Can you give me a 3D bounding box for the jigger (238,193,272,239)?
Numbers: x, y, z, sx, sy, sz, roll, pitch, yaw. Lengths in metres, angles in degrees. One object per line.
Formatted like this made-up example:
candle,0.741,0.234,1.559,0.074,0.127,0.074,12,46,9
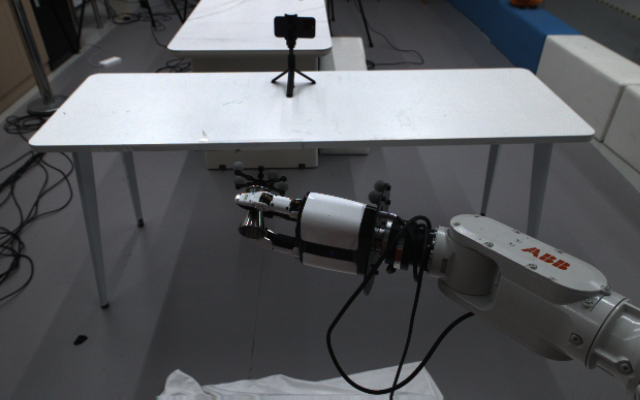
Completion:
jigger,-0.096,0.016,0.714,0.043,0.043,0.071,4,60,2
